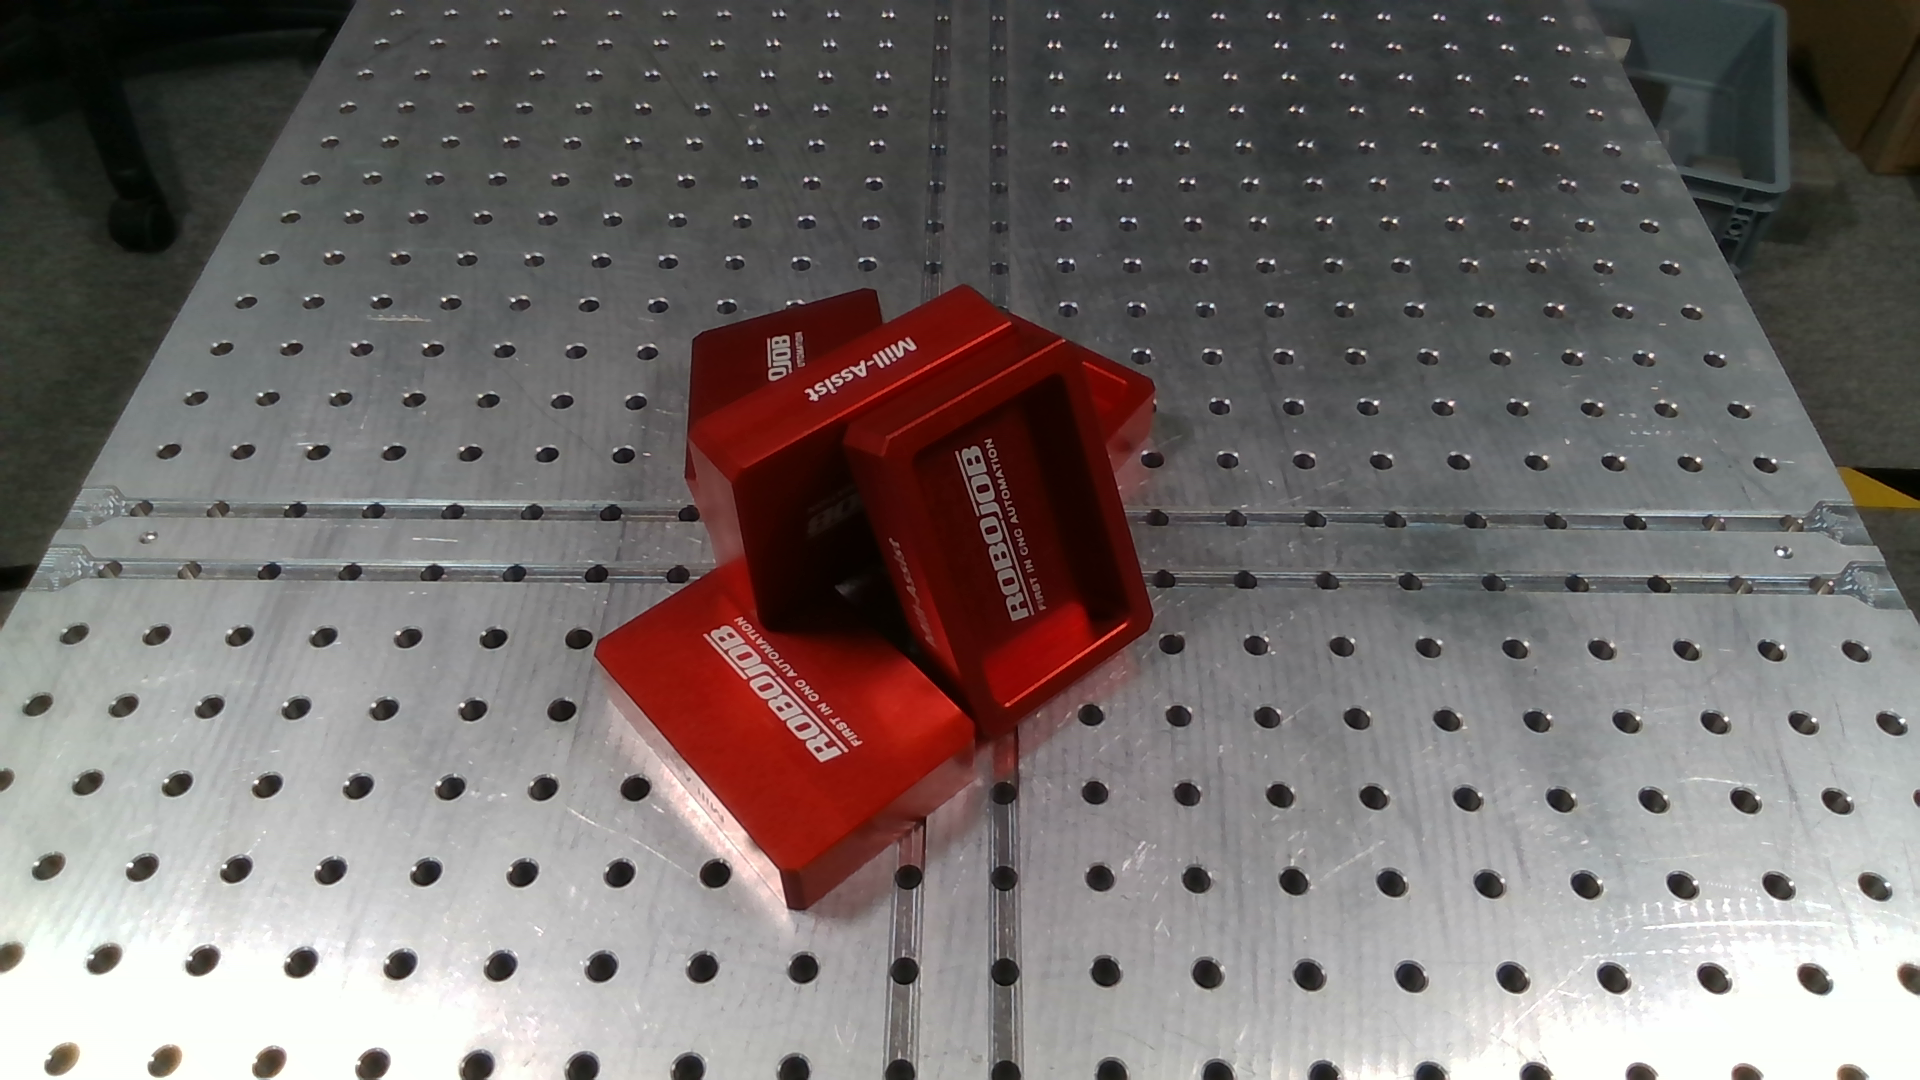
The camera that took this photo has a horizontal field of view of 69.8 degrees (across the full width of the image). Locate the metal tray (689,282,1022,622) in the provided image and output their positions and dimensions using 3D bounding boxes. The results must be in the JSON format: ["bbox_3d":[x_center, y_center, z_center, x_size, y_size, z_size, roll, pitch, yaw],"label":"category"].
[{"bbox_3d":[-0.036,-0.034,0.536,0.130,0.090,0.030,-31,57,-23],"label":"metal tray"}]

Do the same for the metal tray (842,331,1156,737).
[{"bbox_3d":[0.019,-0.002,0.524,0.090,0.130,0.030,-31,29,-23],"label":"metal tray"}]

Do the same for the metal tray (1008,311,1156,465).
[{"bbox_3d":[0.017,-0.042,0.622,0.090,0.030,0.130,29,56,22],"label":"metal tray"}]

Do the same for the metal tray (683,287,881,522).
[{"bbox_3d":[-0.072,-0.061,0.607,0.090,0.030,0.130,-15,36,1],"label":"metal tray"}]

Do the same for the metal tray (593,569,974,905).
[{"bbox_3d":[-0.068,0.065,0.531,0.090,0.030,0.130,-34,58,-25],"label":"metal tray"}]
